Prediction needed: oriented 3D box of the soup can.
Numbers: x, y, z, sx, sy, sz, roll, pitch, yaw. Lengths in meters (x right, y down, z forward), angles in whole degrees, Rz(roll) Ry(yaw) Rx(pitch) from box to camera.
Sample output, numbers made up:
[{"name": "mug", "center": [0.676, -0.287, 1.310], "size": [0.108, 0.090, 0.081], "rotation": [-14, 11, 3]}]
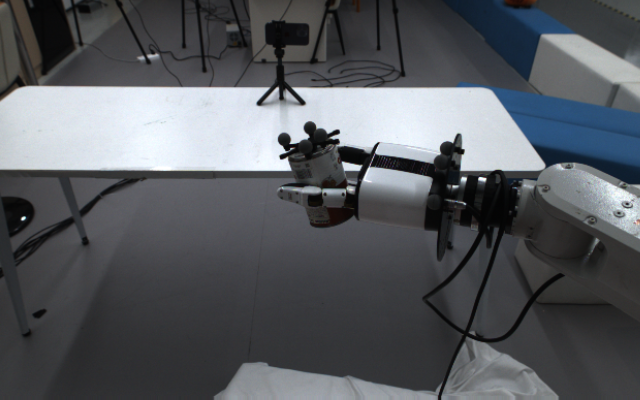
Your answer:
[{"name": "soup can", "center": [0.004, -0.023, 0.646], "size": [0.067, 0.101, 0.067], "rotation": [-16, 23, 7]}]
